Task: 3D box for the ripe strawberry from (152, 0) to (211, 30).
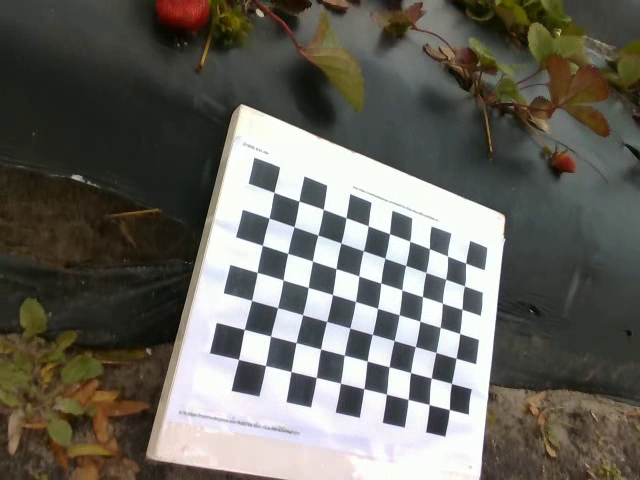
[{"bbox_3d":[-0.030,-0.054,0.178,0.018,0.014,0.017,33,18,-34],"label":"ripe strawberry"}]
